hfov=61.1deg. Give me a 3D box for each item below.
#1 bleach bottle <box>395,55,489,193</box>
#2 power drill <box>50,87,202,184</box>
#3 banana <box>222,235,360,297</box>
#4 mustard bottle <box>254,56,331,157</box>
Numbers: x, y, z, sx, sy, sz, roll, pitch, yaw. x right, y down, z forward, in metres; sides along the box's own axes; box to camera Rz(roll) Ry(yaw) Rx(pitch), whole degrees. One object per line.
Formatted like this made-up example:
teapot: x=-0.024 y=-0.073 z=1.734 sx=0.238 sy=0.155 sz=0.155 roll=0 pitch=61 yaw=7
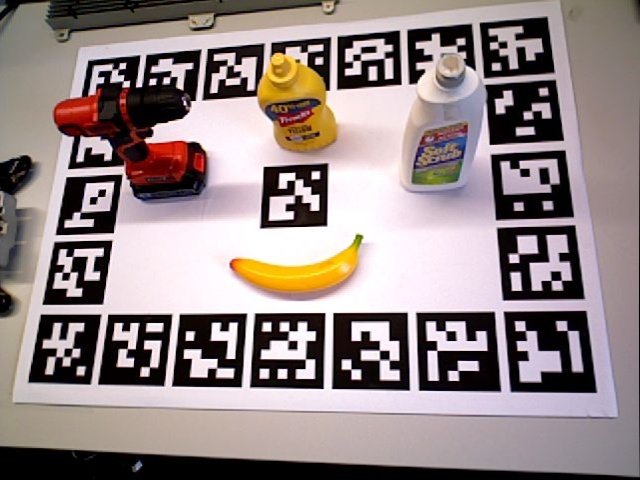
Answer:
bleach bottle: x=0.142 y=-0.137 z=0.659 sx=0.103 sy=0.252 sz=0.067 roll=7 pitch=72 yaw=11
power drill: x=-0.232 y=-0.145 z=0.731 sx=0.185 sy=0.188 sz=0.057 roll=-8 pitch=70 yaw=11
banana: x=-0.040 y=0.041 z=0.742 sx=0.198 sy=0.039 sz=0.074 roll=-7 pitch=74 yaw=11
mustard bottle: x=-0.040 y=-0.183 z=0.741 sx=0.096 sy=0.193 sz=0.058 roll=-8 pitch=70 yaw=4
